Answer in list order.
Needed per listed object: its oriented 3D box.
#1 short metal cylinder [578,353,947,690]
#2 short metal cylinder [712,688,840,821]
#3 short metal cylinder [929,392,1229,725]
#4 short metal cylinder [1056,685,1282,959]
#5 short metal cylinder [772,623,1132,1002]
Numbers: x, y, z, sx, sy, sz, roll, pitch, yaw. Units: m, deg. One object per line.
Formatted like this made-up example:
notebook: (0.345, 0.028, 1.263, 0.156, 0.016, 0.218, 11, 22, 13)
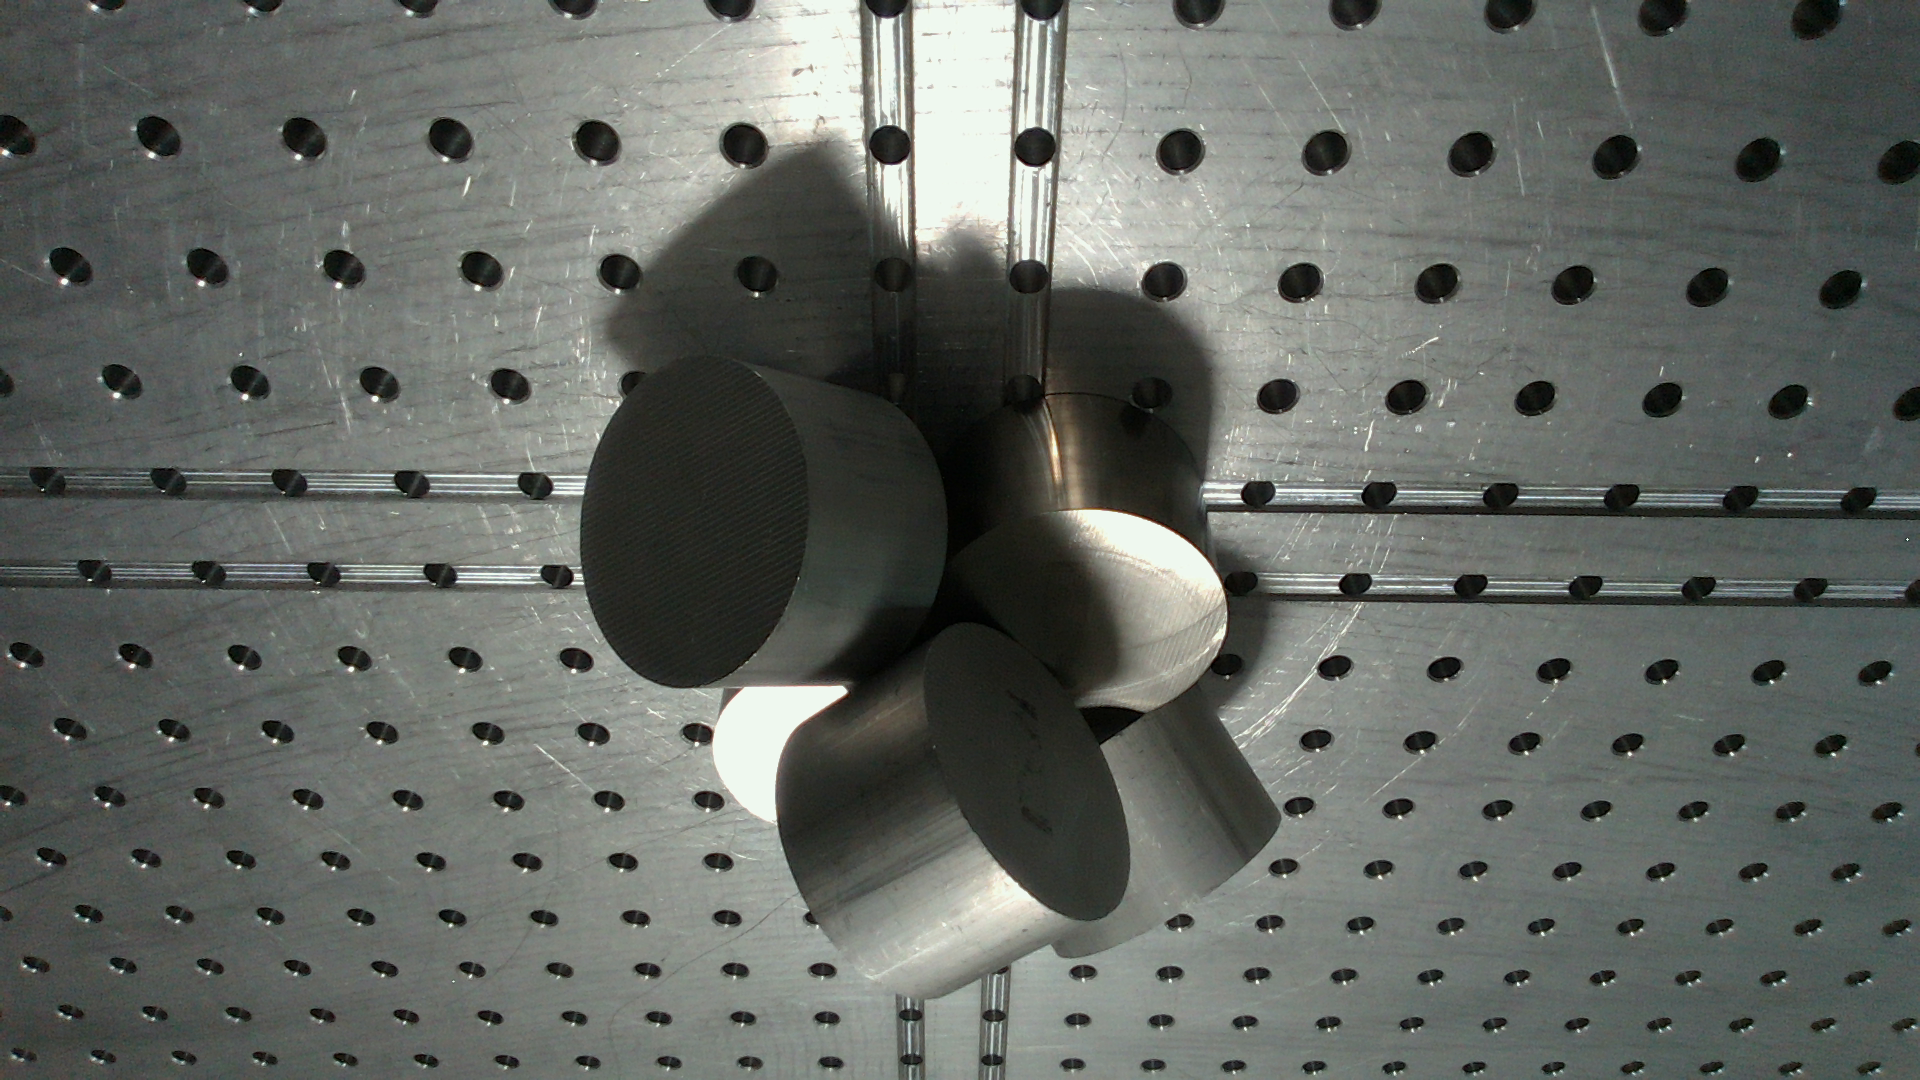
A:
short metal cylinder: (-0.050, -0.003, 0.346, 0.080, 0.080, 0.050, -39, 154, 28)
short metal cylinder: (-0.031, 0.046, 0.415, 0.080, 0.050, 0.080, 0, 130, 0)
short metal cylinder: (0.031, 0.006, 0.382, 0.080, 0.050, 0.080, 0, 130, 0)
short metal cylinder: (0.050, 0.082, 0.418, 0.080, 0.080, 0.050, -33, 87, 25)
short metal cylinder: (-0.001, 0.068, 0.348, 0.050, 0.080, 0.080, -34, 122, 25)
